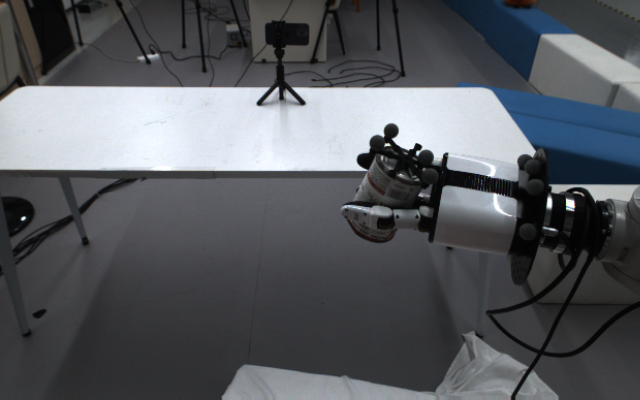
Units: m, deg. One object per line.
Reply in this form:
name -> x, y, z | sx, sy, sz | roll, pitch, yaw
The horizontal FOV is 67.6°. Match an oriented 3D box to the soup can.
soup can -> 0.082, -0.007, 0.589 | 0.067, 0.101, 0.067 | 14, 39, -12
